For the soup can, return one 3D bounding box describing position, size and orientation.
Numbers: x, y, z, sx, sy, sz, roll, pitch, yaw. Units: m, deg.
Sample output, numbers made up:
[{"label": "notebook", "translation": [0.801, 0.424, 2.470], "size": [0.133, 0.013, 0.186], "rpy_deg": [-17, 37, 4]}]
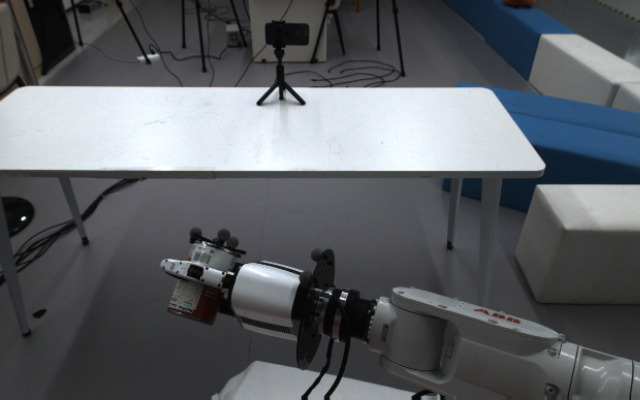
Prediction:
[{"label": "soup can", "translation": [-0.161, 0.117, 0.670], "size": [0.067, 0.067, 0.101], "rpy_deg": [12, 70, 14]}]
